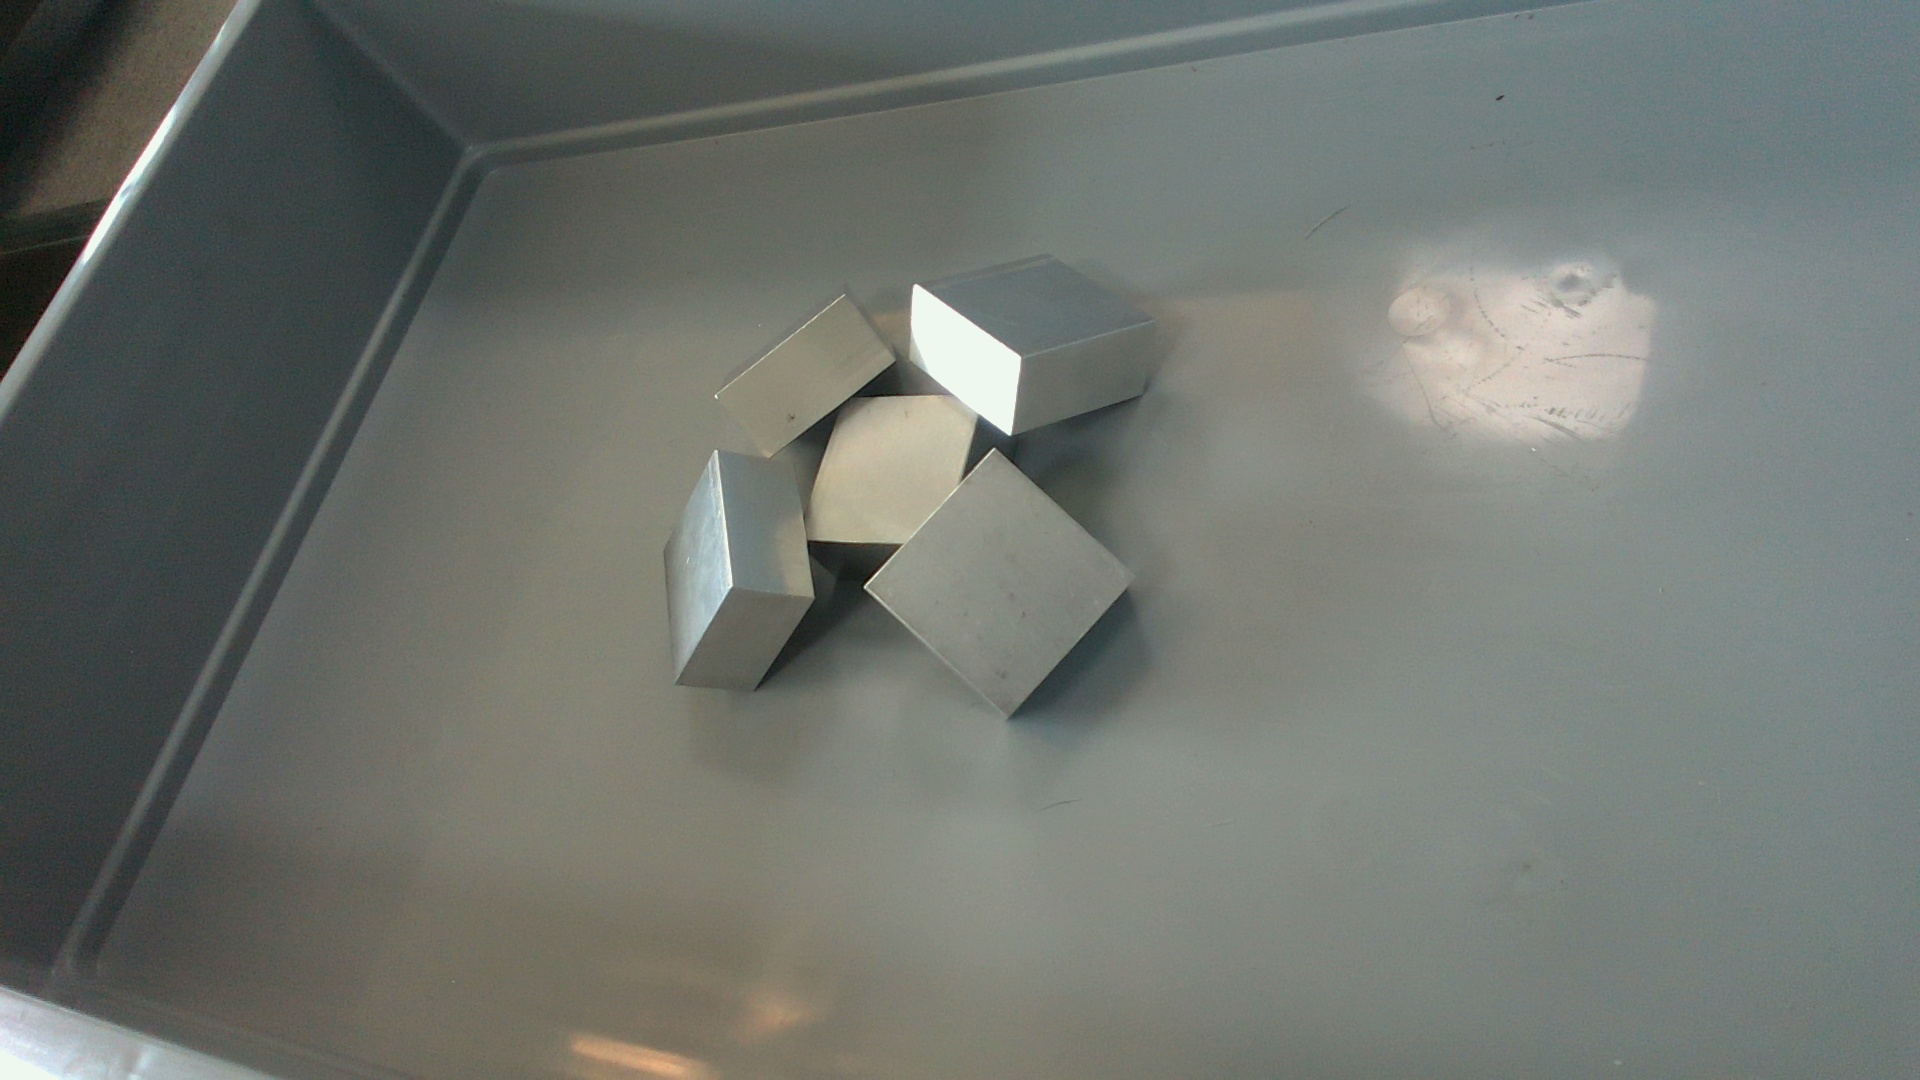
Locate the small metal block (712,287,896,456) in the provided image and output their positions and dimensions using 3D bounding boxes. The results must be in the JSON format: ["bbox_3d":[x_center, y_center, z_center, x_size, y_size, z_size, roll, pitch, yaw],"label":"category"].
[{"bbox_3d":[-0.049,-0.055,0.436,0.050,0.025,0.050,-37,13,4],"label":"small metal block"}]

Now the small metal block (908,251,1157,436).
[{"bbox_3d":[0.020,-0.059,0.401,0.050,0.025,0.050,-20,43,-32],"label":"small metal block"}]

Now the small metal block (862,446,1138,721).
[{"bbox_3d":[0.010,0.012,0.364,0.050,0.025,0.050,42,85,5],"label":"small metal block"}]

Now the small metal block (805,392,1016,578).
[{"bbox_3d":[-0.016,-0.016,0.409,0.050,0.025,0.050,2,62,29],"label":"small metal block"}]

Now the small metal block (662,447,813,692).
[{"bbox_3d":[-0.067,0.009,0.407,0.050,0.025,0.050,-53,38,42],"label":"small metal block"}]
